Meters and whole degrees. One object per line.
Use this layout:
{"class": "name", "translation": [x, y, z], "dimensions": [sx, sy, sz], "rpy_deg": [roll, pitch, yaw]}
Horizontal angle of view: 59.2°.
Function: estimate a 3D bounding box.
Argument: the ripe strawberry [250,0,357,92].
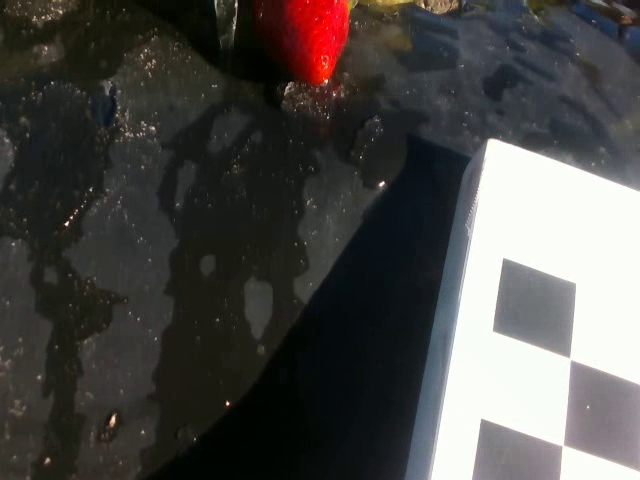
{"class": "ripe strawberry", "translation": [-0.001, -0.078, 0.191], "dimensions": [0.041, 0.052, 0.040], "rpy_deg": [3, -30, -12]}
